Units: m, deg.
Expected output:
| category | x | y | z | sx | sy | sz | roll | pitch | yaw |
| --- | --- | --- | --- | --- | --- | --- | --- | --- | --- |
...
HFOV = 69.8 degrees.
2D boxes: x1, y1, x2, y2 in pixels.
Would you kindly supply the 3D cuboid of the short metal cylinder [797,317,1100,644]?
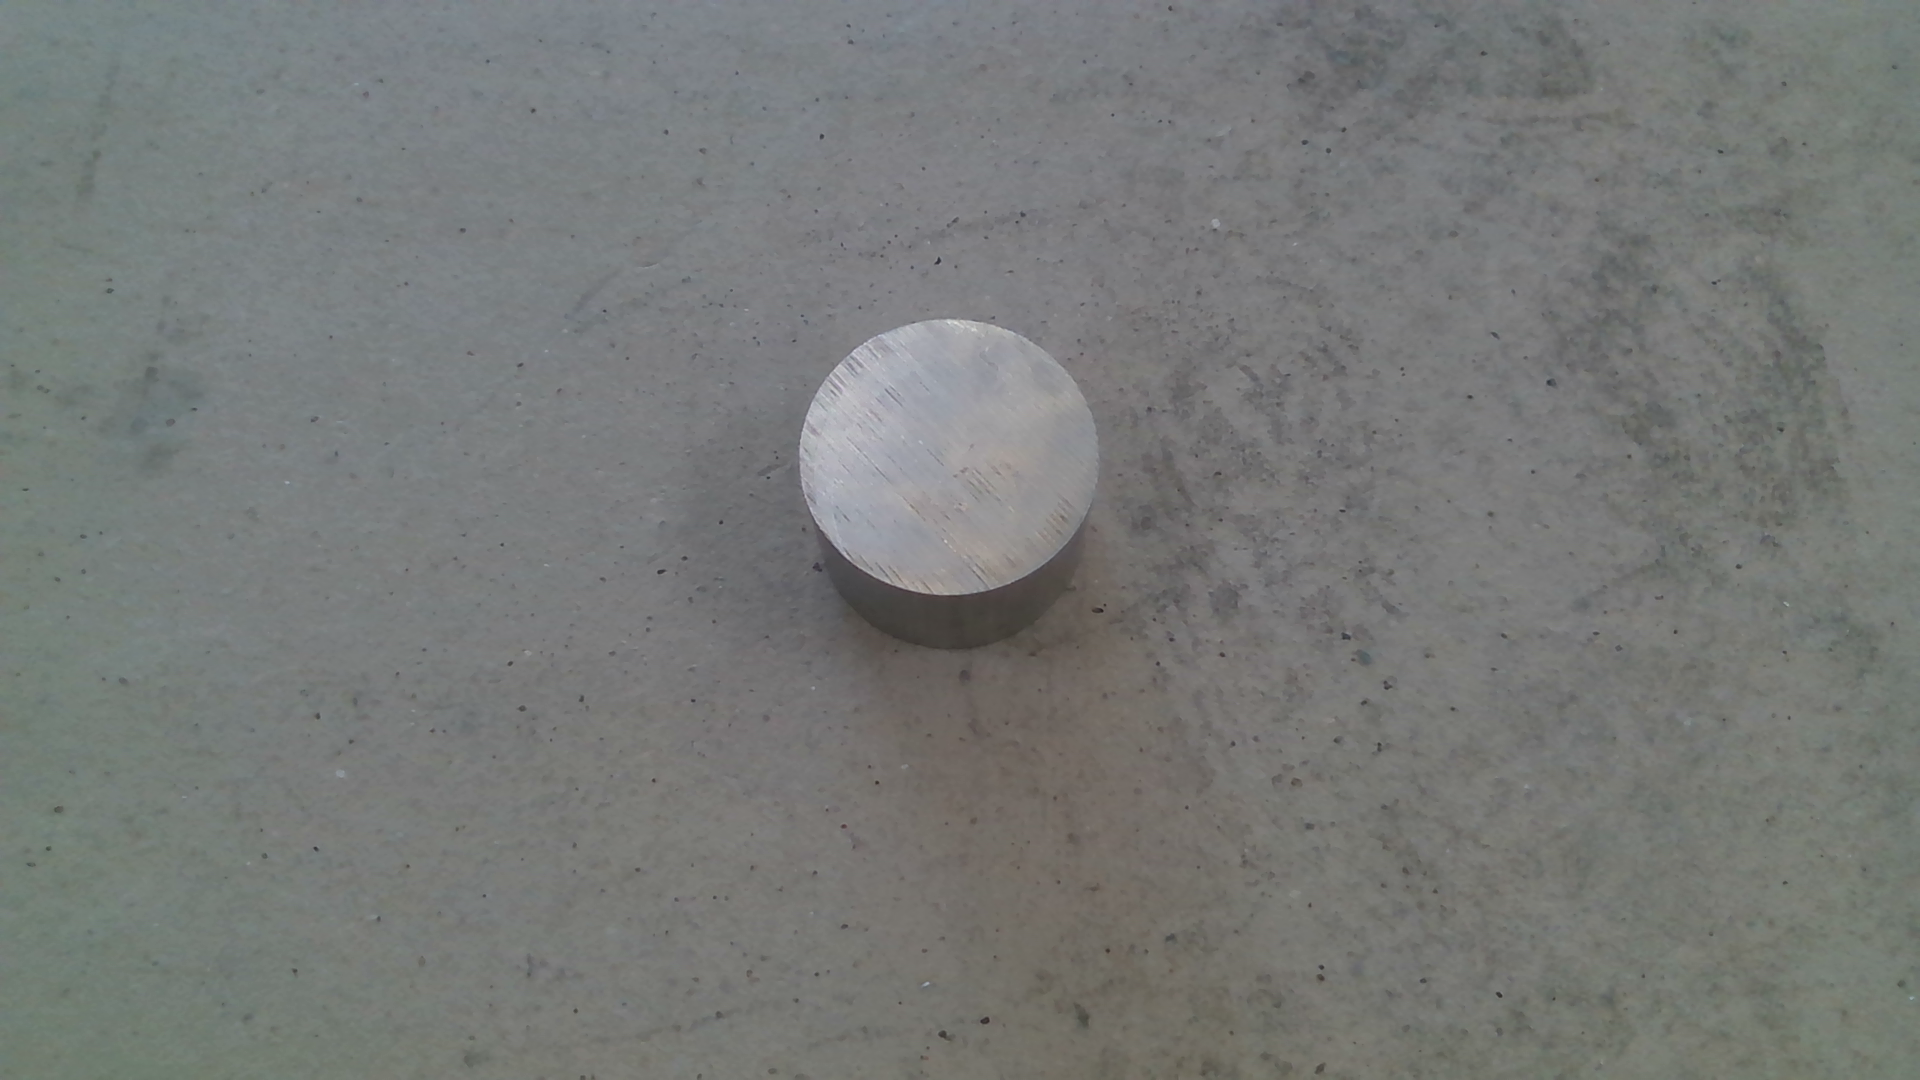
| category | x | y | z | sx | sy | sz | roll | pitch | yaw |
| --- | --- | --- | --- | --- | --- | --- | --- | --- | --- |
| short metal cylinder | -0.003 | -0.015 | 0.388 | 0.080 | 0.050 | 0.080 | 0 | 71 | 0 |
